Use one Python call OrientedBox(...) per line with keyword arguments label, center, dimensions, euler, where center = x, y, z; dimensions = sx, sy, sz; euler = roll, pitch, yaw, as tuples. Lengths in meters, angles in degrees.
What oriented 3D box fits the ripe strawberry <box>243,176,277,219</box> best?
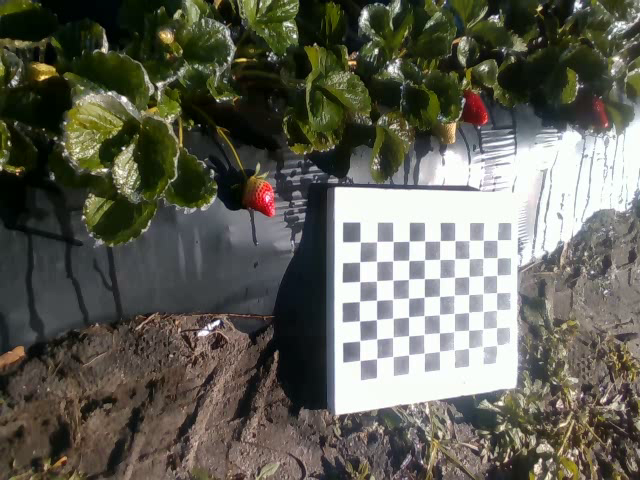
OrientedBox(label="ripe strawberry", center=(-0.063, -0.045, 0.638), dimensions=(0.039, 0.053, 0.040), euler=(-25, -4, -24))
